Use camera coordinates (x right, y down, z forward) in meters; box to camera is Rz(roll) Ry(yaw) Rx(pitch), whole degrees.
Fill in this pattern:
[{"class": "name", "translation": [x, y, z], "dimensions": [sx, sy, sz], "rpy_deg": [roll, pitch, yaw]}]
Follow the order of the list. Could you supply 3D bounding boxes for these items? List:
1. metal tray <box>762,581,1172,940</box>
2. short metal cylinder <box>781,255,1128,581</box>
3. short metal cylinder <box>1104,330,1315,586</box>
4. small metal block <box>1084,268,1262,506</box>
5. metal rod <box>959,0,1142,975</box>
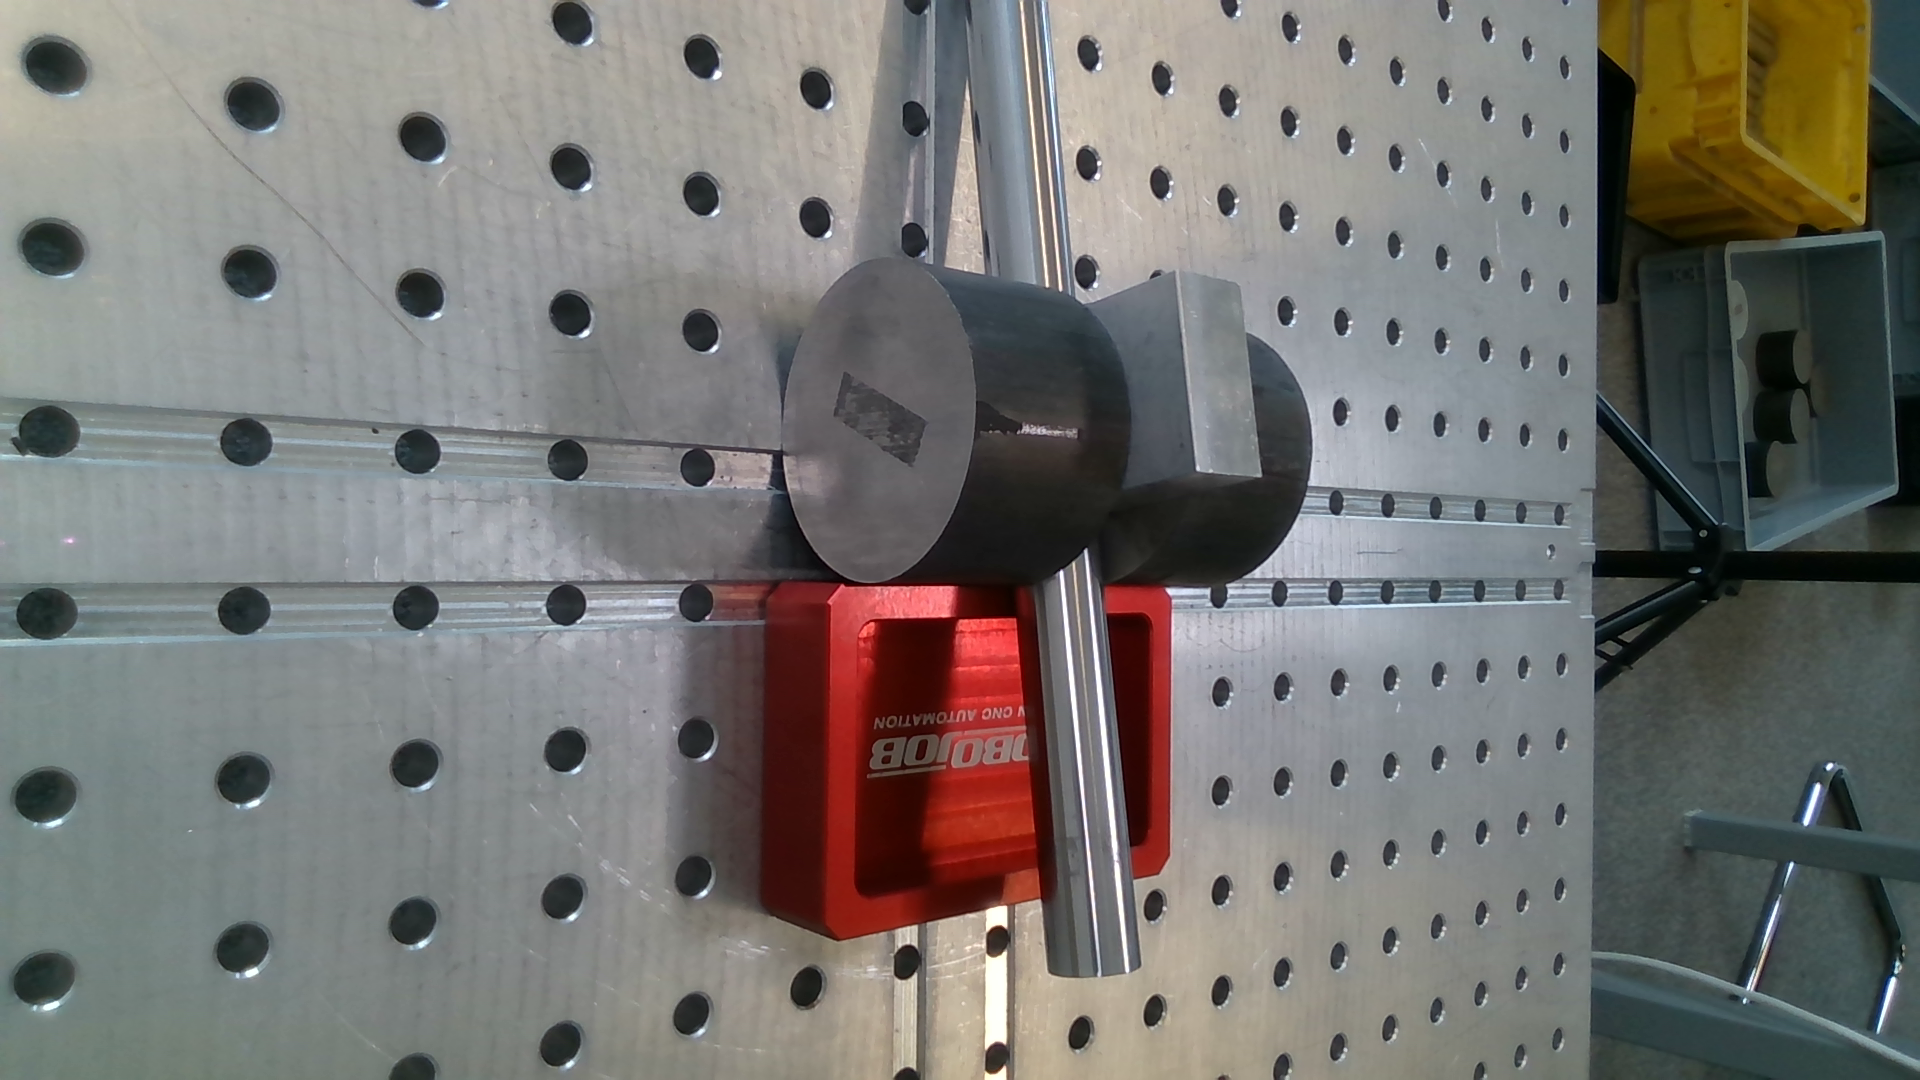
[{"class": "metal tray", "translation": [0.007, 0.057, 0.397], "dimensions": [0.130, 0.030, 0.090], "rpy_deg": [1, 89, -40]}, {"class": "short metal cylinder", "translation": [-0.003, -0.029, 0.355], "dimensions": [0.050, 0.080, 0.080], "rpy_deg": [2, 89, -40]}, {"class": "short metal cylinder", "translation": [0.055, -0.026, 0.403], "dimensions": [0.050, 0.080, 0.080], "rpy_deg": [1, 90, -40]}, {"class": "small metal block", "translation": [0.048, -0.037, 0.356], "dimensions": [0.025, 0.050, 0.050], "rpy_deg": [1, 81, -40]}, {"class": "metal rod", "translation": [0.023, -0.035, 0.383], "dimensions": [0.025, 0.025, 0.300], "rpy_deg": [1, 80, -40]}]
